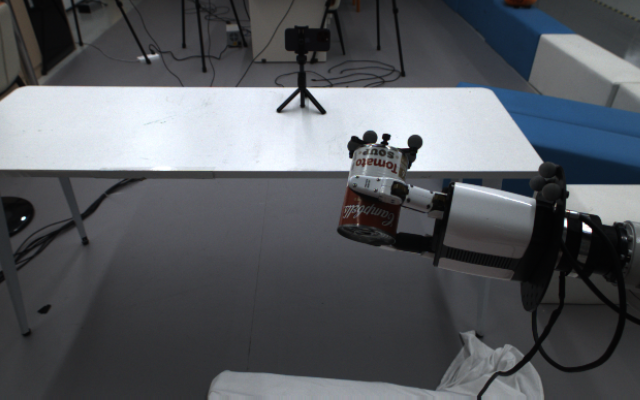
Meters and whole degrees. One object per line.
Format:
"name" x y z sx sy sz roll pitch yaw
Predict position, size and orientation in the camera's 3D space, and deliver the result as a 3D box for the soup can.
"soup can" 0.064 -0.008 0.562 0.067 0.067 0.101 9 72 10
